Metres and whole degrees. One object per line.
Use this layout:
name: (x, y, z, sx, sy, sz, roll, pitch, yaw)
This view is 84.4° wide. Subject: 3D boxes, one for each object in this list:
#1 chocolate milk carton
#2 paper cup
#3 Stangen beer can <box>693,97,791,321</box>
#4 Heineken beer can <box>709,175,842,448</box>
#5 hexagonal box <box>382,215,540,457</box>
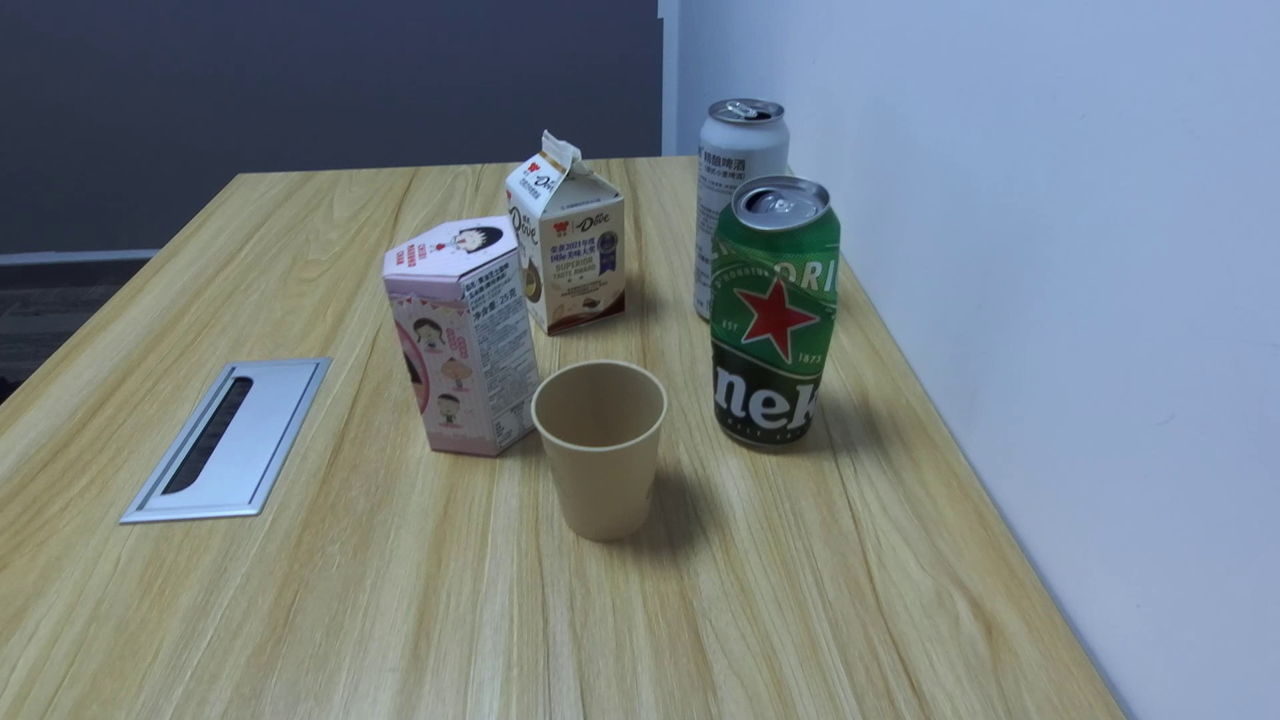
chocolate milk carton: (-0.058, -0.107, 0.565, 0.074, 0.148, 0.075, -18, 41, -21)
paper cup: (-0.021, 0.056, 0.407, 0.075, 0.082, 0.075, 0, 37, 0)
Stangen beer can: (0.078, -0.109, 0.551, 0.067, 0.171, 0.067, -1, 34, 1)
Heineken beer can: (0.081, -0.023, 0.437, 0.069, 0.168, 0.068, -6, 38, -3)
hexagonal box: (-0.109, -0.015, 0.459, 0.085, 0.135, 0.092, -11, 38, -12)
